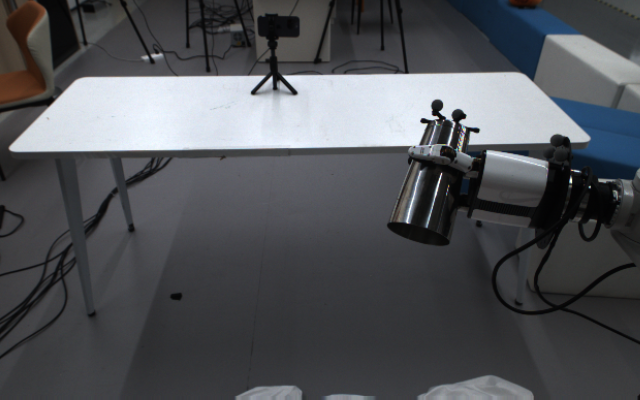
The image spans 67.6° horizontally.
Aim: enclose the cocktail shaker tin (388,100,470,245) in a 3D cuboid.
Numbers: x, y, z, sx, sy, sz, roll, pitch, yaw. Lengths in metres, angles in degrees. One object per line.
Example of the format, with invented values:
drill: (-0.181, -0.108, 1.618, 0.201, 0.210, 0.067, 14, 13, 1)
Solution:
cocktail shaker tin: (0.168, -0.029, 0.708, 0.093, 0.093, 0.170, 15, 74, 17)
